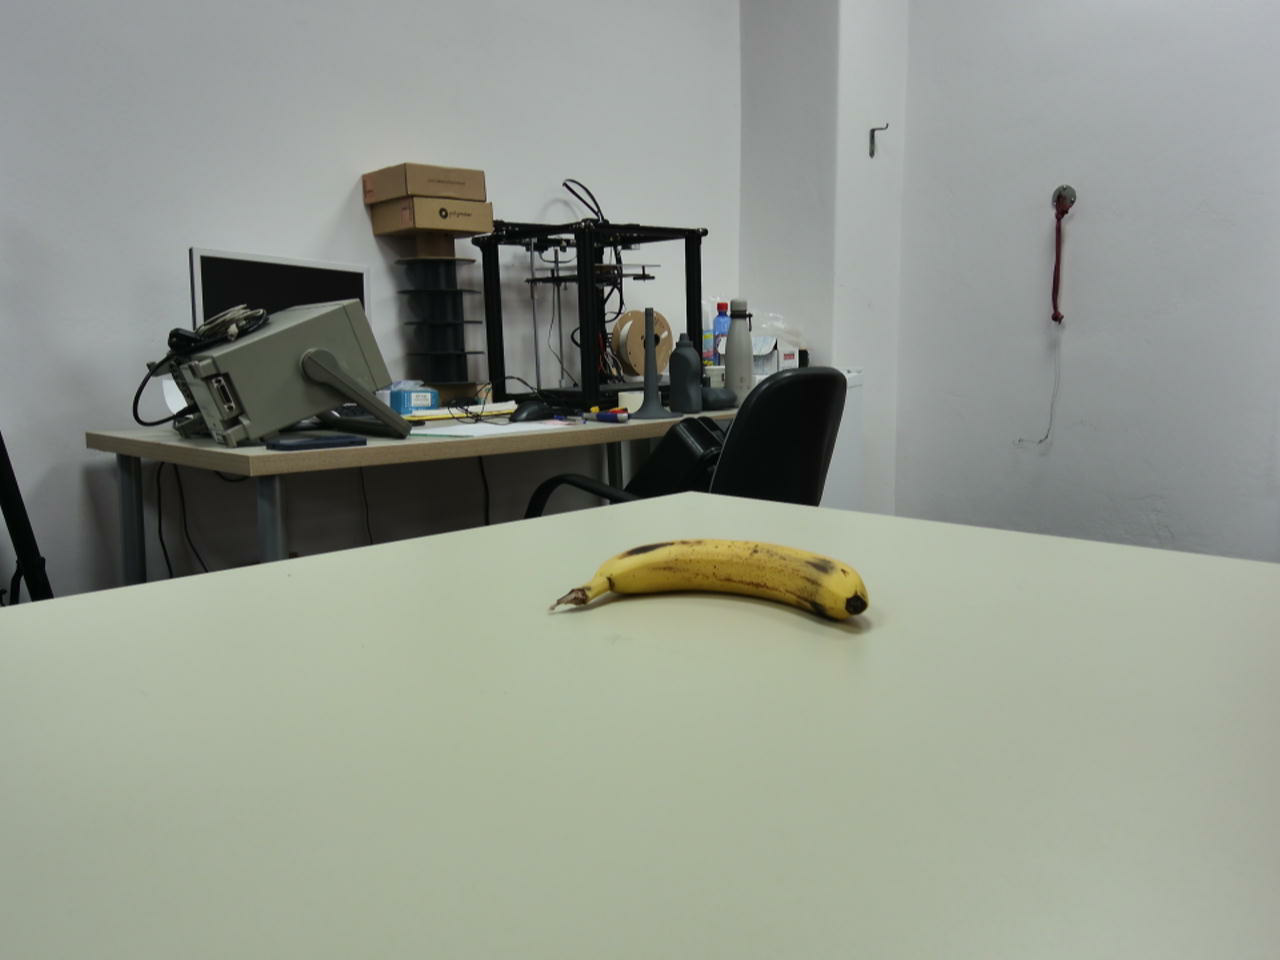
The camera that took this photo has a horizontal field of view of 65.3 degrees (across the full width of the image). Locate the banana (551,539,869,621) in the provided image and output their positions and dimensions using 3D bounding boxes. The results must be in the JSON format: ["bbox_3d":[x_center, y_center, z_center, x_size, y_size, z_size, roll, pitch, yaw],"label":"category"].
[{"bbox_3d":[0.054,0.062,0.638,0.186,0.038,0.097,3,7,19],"label":"banana"}]
